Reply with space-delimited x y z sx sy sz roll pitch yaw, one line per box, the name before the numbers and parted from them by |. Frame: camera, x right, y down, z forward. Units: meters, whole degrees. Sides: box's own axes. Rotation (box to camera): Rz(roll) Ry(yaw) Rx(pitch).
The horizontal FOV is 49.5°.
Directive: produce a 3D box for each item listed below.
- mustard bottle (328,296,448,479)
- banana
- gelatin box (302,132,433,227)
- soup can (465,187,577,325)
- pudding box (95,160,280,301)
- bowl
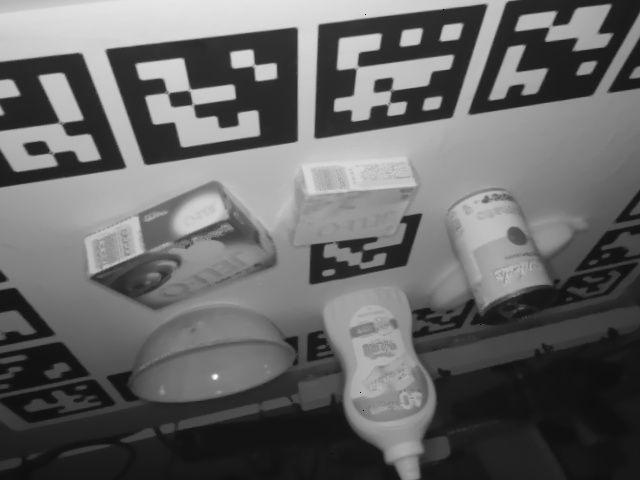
mustard bottle | 0.073 0.153 0.686 0.097 0.192 0.058 -9 150 -9
banana | 0.200 0.035 0.724 0.194 0.039 0.075 -37 152 30
gelatin box | 0.035 -0.046 0.536 0.090 0.030 0.072 -6 143 -16
soup can | 0.172 0.014 0.602 0.068 0.102 0.067 -9 149 -5
pudding box | -0.098 -0.005 0.534 0.113 0.039 0.090 -23 142 11
bowl | -0.110 0.104 0.686 0.162 0.055 0.160 -13 149 -7
